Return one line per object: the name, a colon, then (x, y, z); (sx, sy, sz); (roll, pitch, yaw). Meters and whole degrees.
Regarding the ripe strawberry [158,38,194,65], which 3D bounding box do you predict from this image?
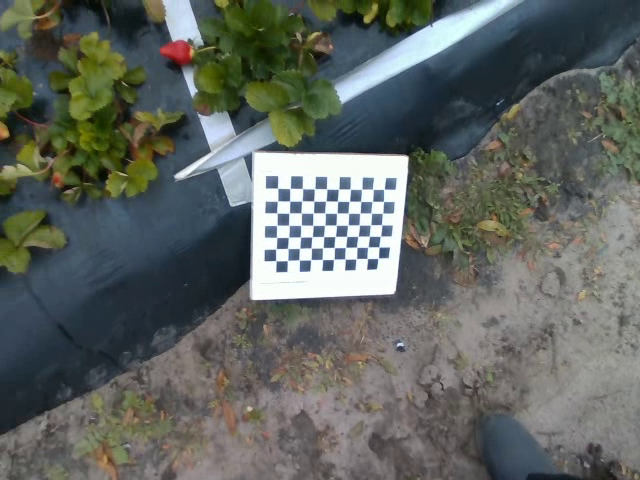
ripe strawberry: (-0.218, -0.284, 0.925); (0.051, 0.042, 0.038); (-6, 22, -17)
